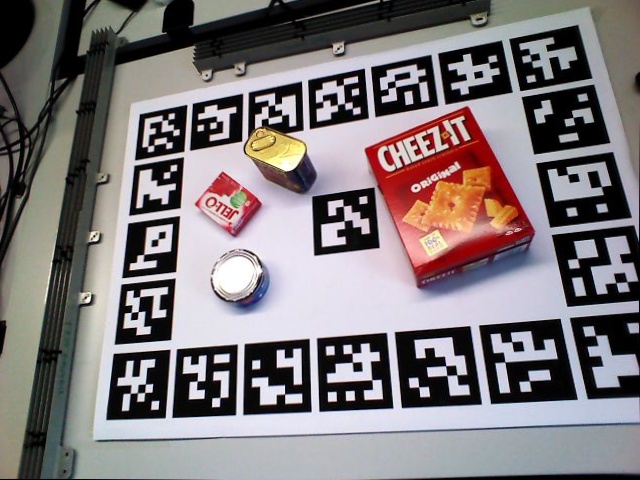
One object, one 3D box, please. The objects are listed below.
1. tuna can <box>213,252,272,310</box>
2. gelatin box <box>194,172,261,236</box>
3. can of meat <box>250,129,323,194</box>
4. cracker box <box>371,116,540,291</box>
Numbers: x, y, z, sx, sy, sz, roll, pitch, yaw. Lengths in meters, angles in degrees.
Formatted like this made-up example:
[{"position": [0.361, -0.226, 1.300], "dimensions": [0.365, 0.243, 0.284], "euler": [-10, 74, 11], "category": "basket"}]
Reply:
[{"position": [-0.119, 0.064, 0.801], "dimensions": [0.086, 0.034, 0.085], "euler": [-5, 71, 15], "category": "tuna can"}, {"position": [-0.154, -0.061, 0.867], "dimensions": [0.089, 0.030, 0.073], "euler": [36, 79, 22], "category": "gelatin box"}, {"position": [-0.051, -0.125, 0.842], "dimensions": [0.102, 0.084, 0.057], "euler": [23, 76, 24], "category": "can of meat"}, {"position": [0.188, -0.056, 0.749], "dimensions": [0.165, 0.072, 0.213], "euler": [-22, 63, 5], "category": "cracker box"}]
